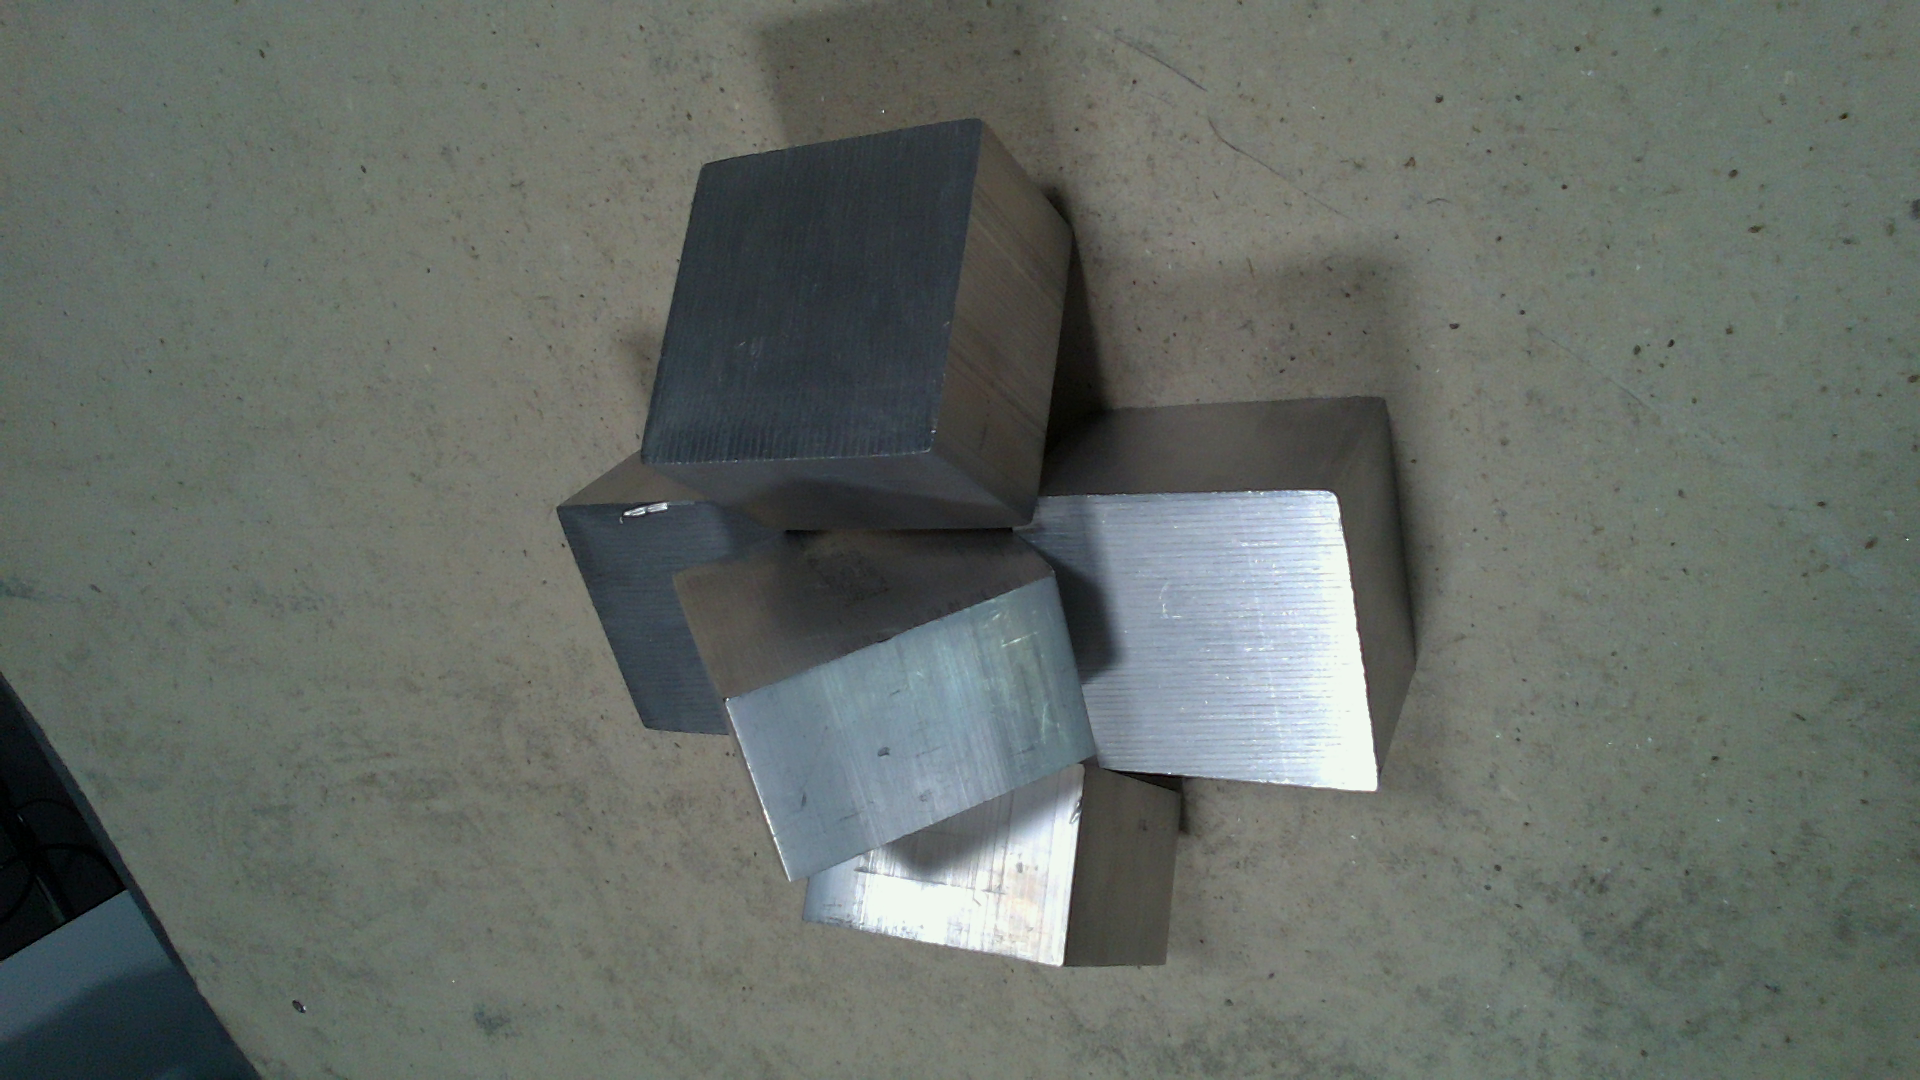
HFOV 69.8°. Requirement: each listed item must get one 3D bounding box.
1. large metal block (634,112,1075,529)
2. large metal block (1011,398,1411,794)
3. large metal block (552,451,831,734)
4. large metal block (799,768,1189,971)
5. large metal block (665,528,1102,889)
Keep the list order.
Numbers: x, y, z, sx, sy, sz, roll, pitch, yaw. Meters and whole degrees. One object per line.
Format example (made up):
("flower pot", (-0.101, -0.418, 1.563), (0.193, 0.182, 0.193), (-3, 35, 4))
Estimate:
("large metal block", (-0.024, -0.049, 0.332), (0.080, 0.080, 0.050), (0, 162, 29))
("large metal block", (0.065, 0.013, 0.347), (0.080, 0.050, 0.080), (0, 119, 28))
("large metal block", (-0.064, 0.013, 0.419), (0.080, 0.050, 0.080), (-1, 118, 29))
("large metal block", (0.013, 0.092, 0.400), (0.080, 0.080, 0.050), (2, 76, 29))
("large metal block", (-0.022, 0.030, 0.345), (0.080, 0.080, 0.050), (-136, 28, -62))
